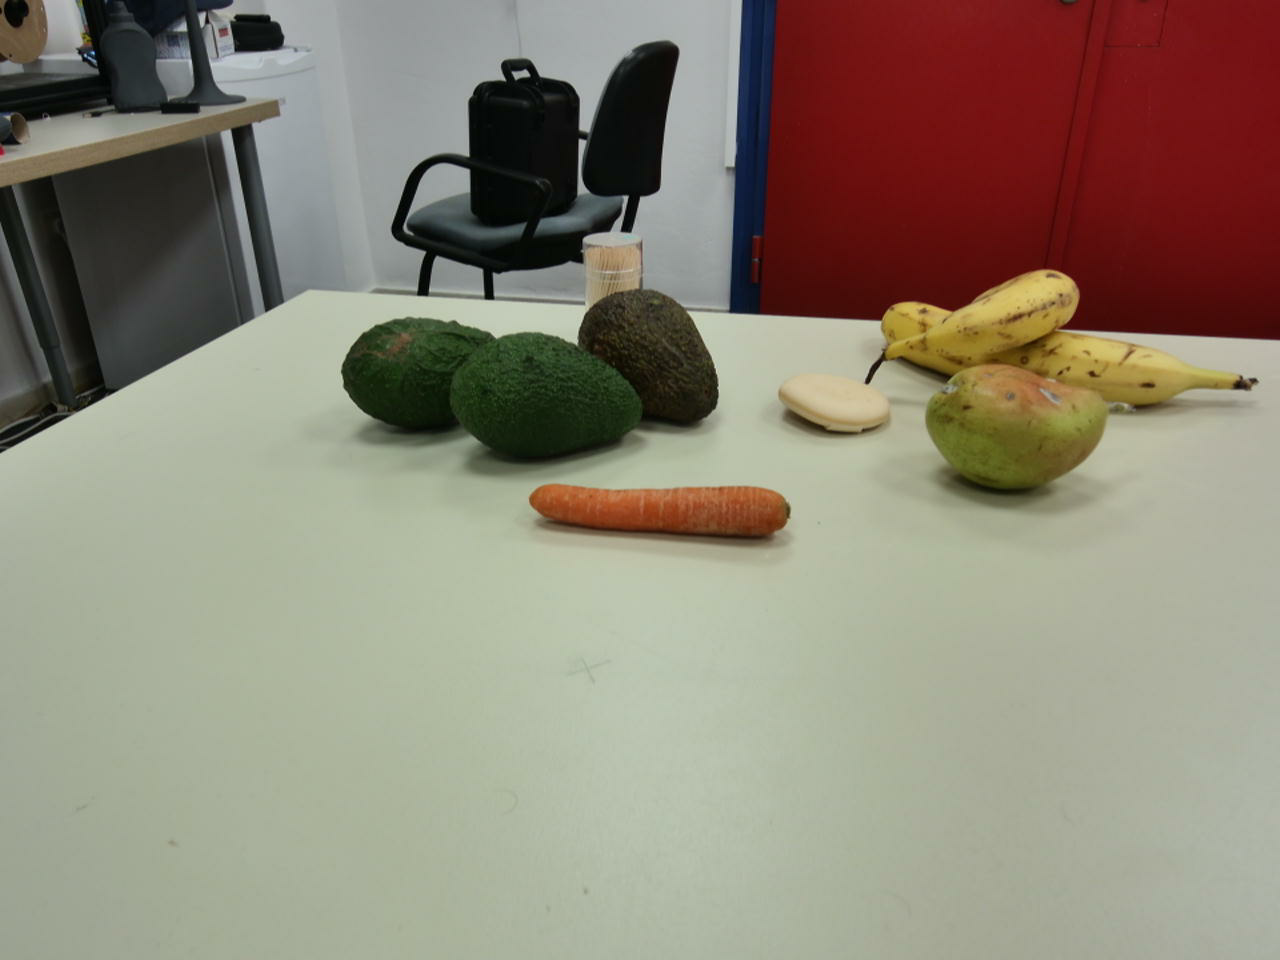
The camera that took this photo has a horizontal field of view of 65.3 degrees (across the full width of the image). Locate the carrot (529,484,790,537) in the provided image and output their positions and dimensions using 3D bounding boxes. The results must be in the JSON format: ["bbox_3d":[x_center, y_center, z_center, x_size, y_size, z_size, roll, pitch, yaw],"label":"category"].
[{"bbox_3d":[0.008,0.012,0.467,0.122,0.023,0.024,4,24,9],"label":"carrot"}]
